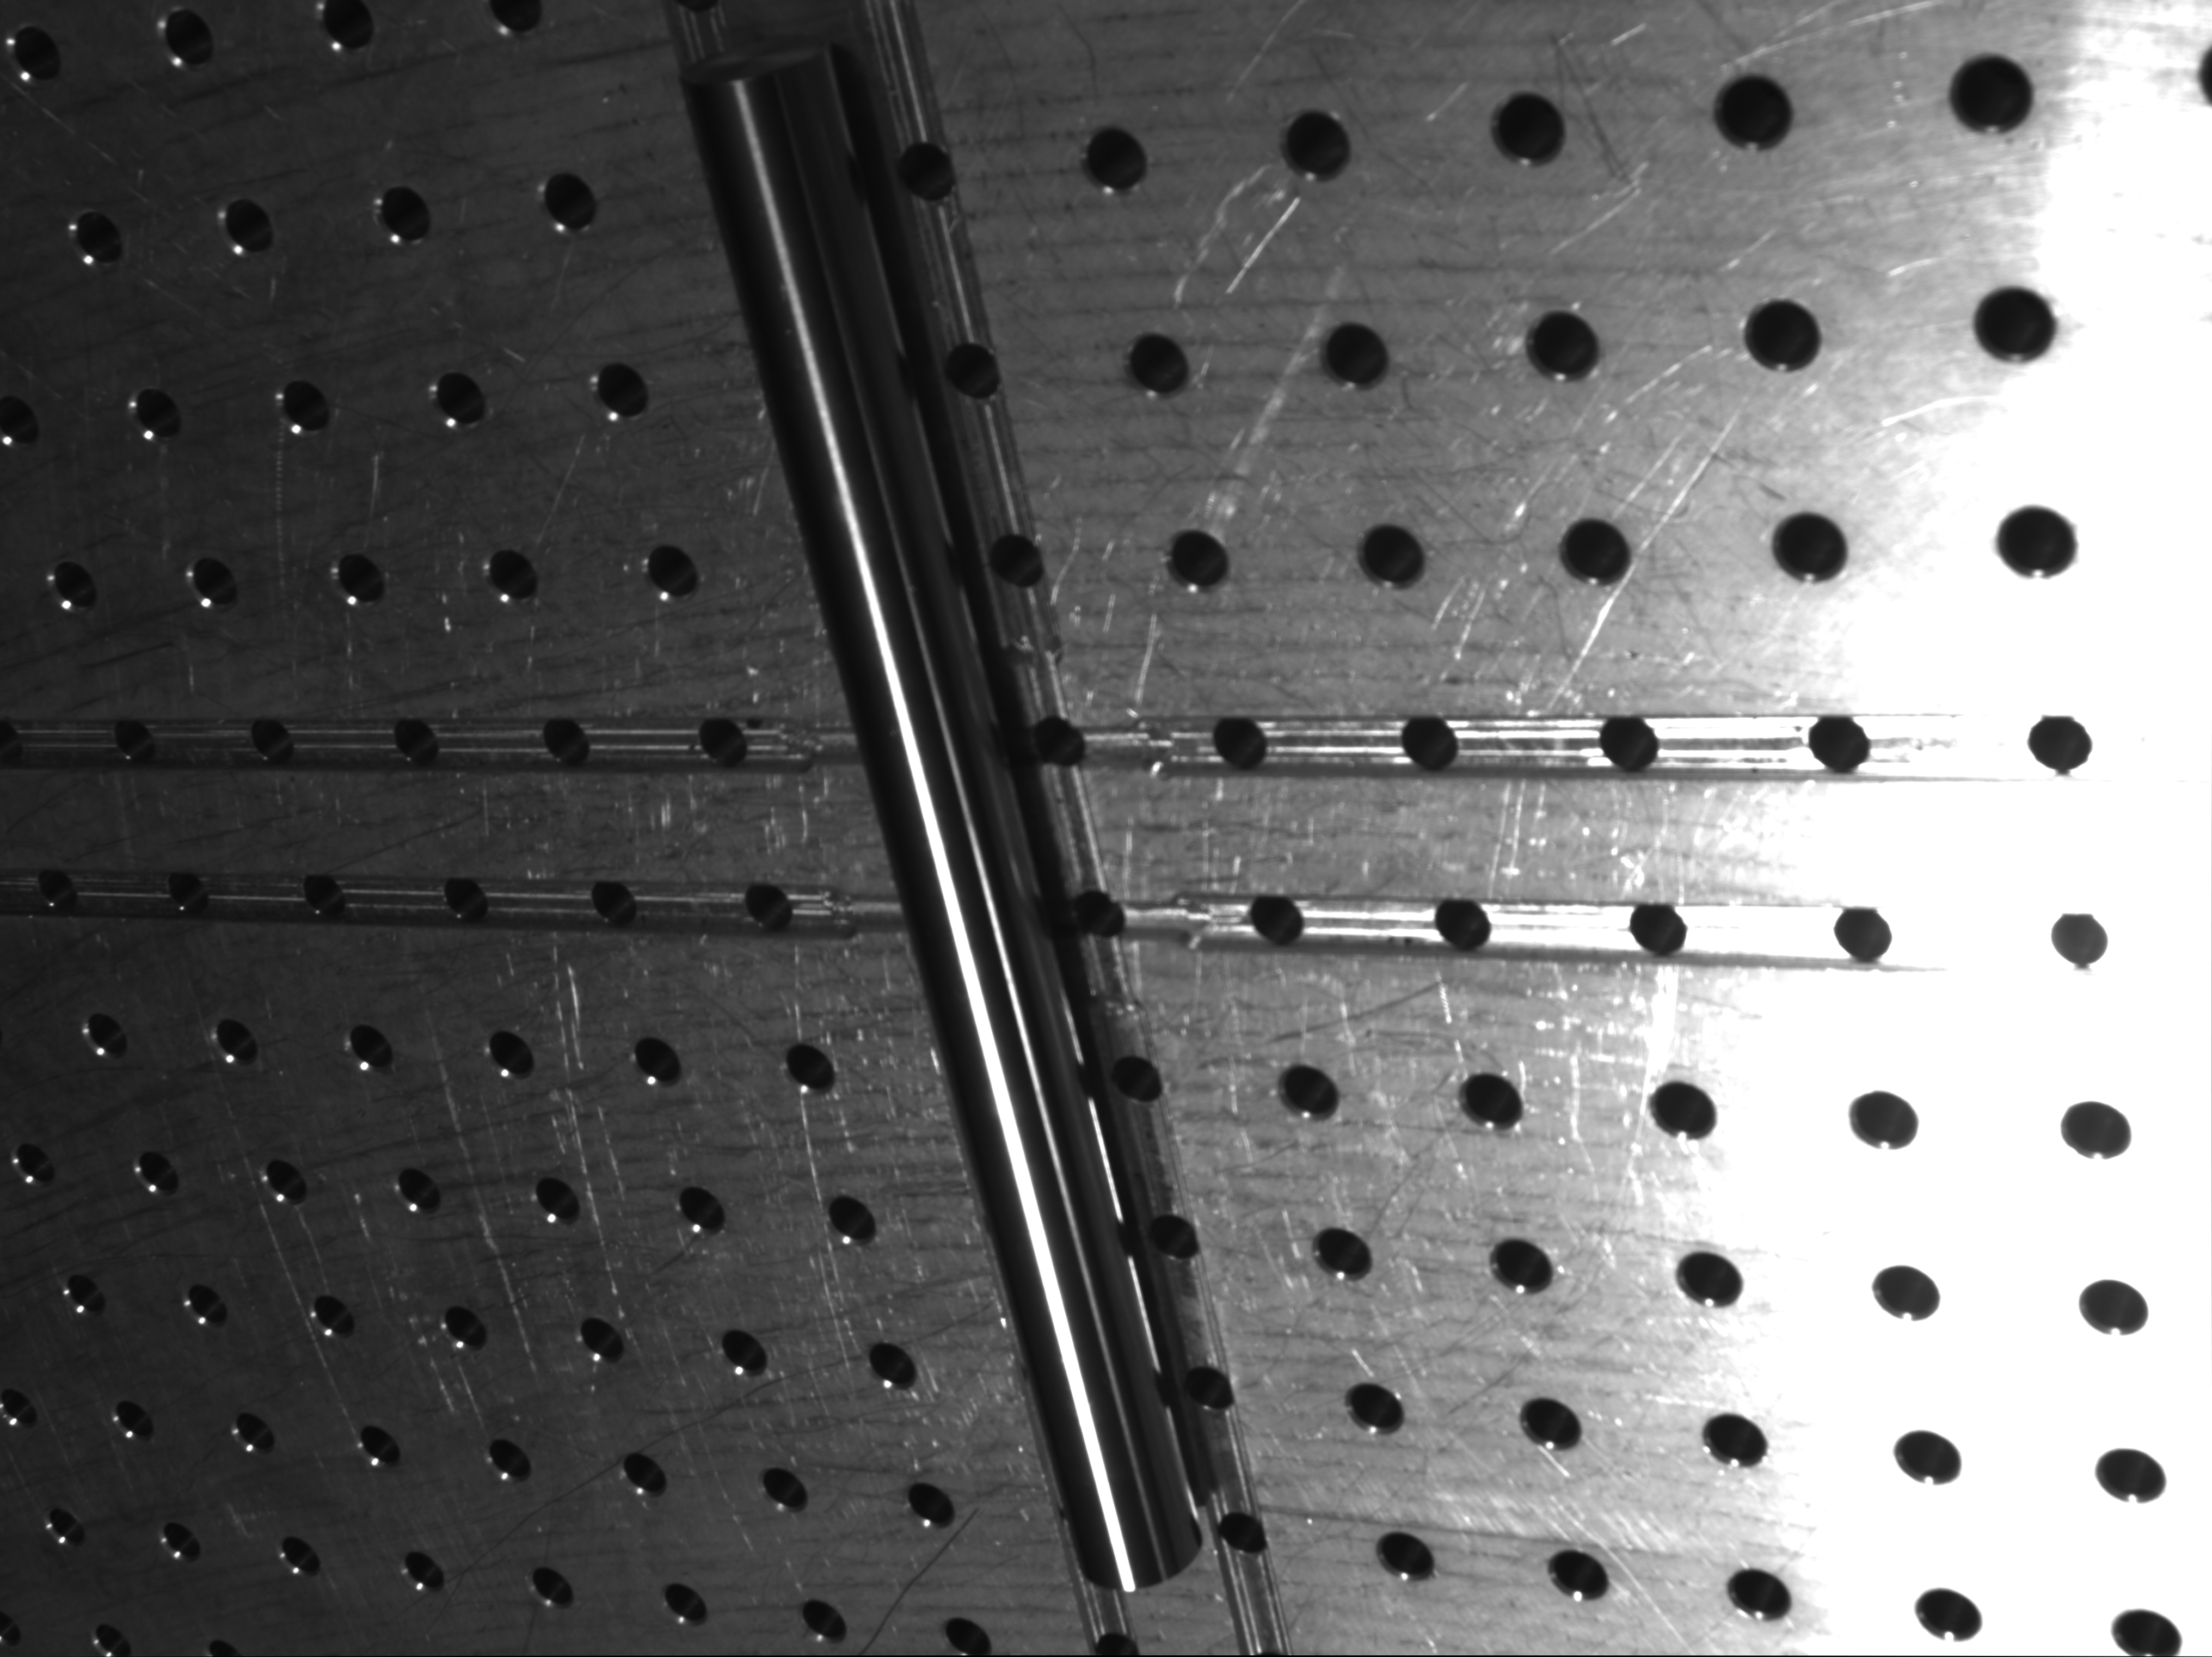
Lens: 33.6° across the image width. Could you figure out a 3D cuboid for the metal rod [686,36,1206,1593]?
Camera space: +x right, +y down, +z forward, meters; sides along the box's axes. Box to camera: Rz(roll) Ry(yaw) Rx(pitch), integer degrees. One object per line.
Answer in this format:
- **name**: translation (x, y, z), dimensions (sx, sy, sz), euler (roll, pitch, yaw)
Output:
- **metal rod**: translation (-0.024, 0.009, 0.651), dimensions (0.025, 0.025, 0.300), euler (0, 118, 27)
